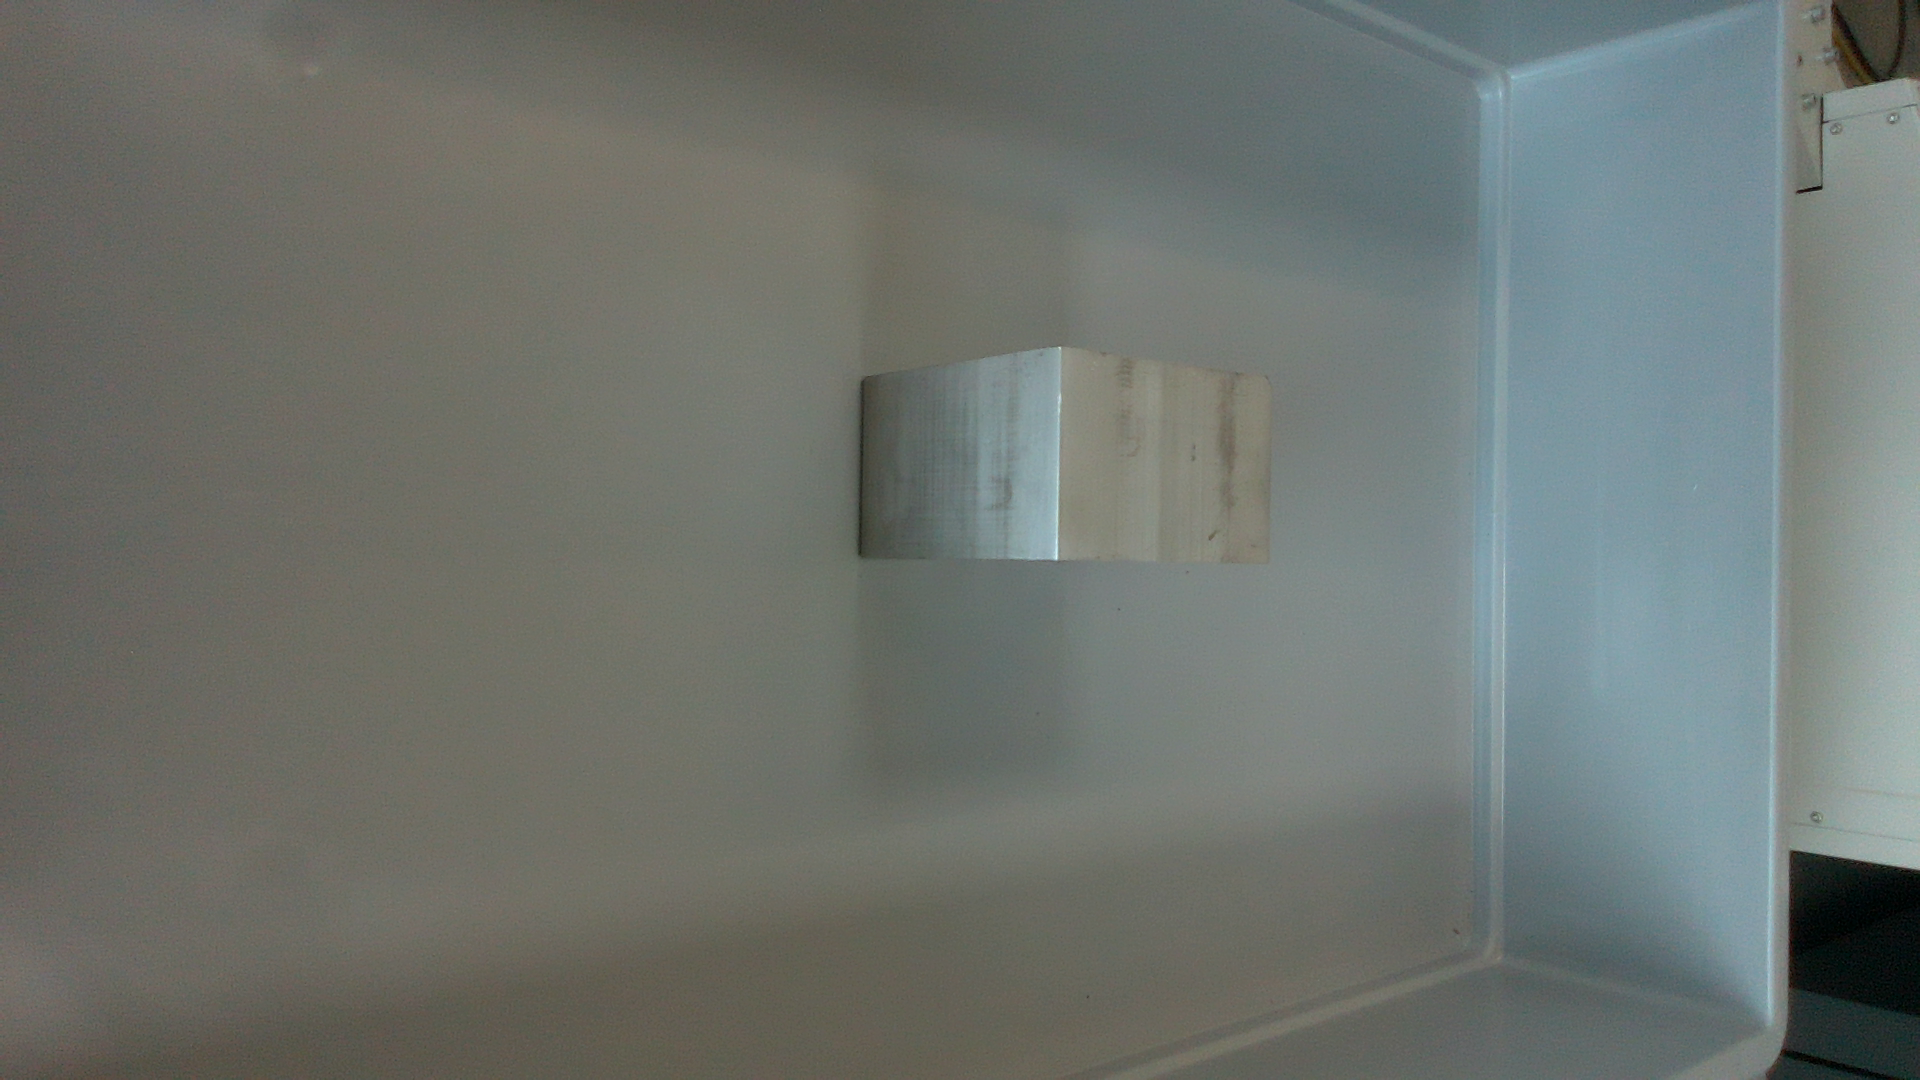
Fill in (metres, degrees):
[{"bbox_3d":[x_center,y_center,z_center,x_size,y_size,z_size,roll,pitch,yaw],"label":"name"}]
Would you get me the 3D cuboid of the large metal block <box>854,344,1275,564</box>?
[{"bbox_3d":[0.028,-0.020,0.374,0.080,0.080,0.050,1,89,-40],"label":"large metal block"}]
